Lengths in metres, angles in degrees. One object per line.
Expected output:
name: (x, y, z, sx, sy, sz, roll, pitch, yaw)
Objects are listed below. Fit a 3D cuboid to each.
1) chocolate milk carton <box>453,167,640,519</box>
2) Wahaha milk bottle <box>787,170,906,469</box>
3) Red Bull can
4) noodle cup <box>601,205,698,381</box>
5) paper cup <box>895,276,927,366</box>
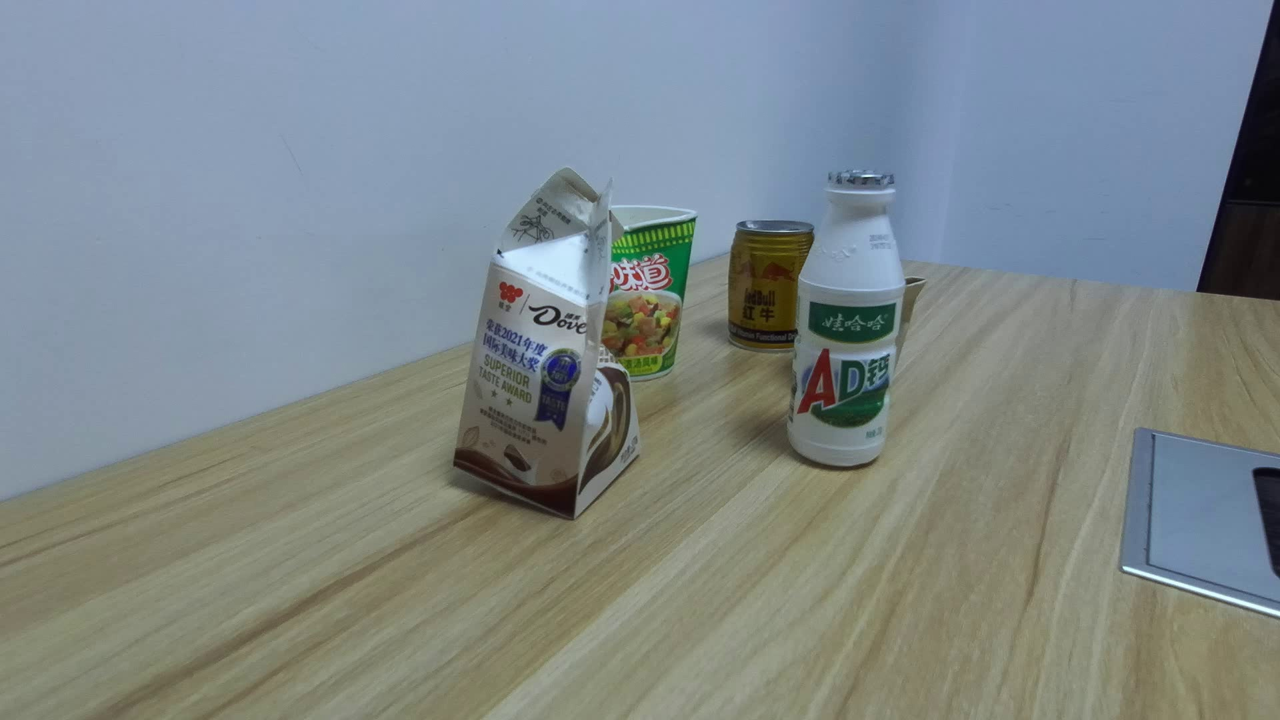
chocolate milk carton: (-0.038, -0.011, 0.351, 0.076, 0.155, 0.089, 11, 9, 19)
Wahaha milk bottle: (0.105, -0.020, 0.362, 0.053, 0.147, 0.053, 1, 20, 0)
Red Bull can: (0.105, -0.057, 0.556, 0.068, 0.093, 0.068, 2, 16, 0)
noodle cup: (-0.007, -0.049, 0.501, 0.094, 0.109, 0.087, -2, 19, -4)
paper cup: (0.148, -0.021, 0.476, 0.058, 0.083, 0.067, 19, 15, 21)
